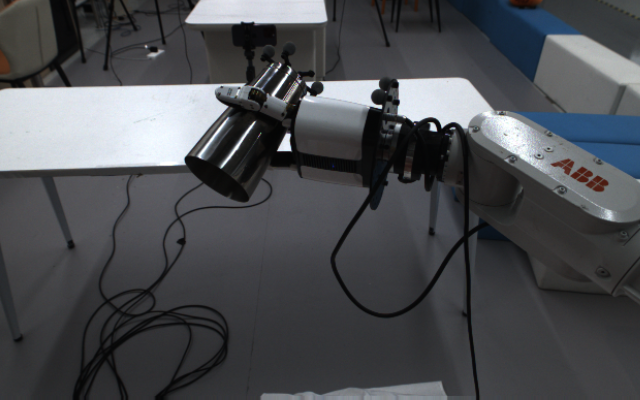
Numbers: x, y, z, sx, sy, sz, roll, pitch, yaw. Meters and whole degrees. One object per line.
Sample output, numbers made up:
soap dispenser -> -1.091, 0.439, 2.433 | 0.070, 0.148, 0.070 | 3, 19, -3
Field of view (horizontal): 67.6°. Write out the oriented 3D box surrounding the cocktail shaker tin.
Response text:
cocktail shaker tin -> -0.084, -0.095, 0.616 | 0.093, 0.093, 0.170 | 20, 67, 24
